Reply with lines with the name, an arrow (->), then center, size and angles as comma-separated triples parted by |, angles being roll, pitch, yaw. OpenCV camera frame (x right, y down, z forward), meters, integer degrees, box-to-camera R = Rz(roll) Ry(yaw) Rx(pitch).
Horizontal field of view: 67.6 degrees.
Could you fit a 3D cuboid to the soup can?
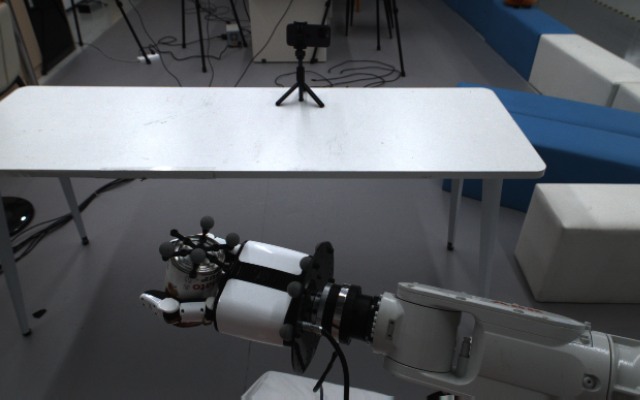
soup can -> -0.160, 0.103, 0.606 | 0.067, 0.101, 0.067 | 14, 35, -10
